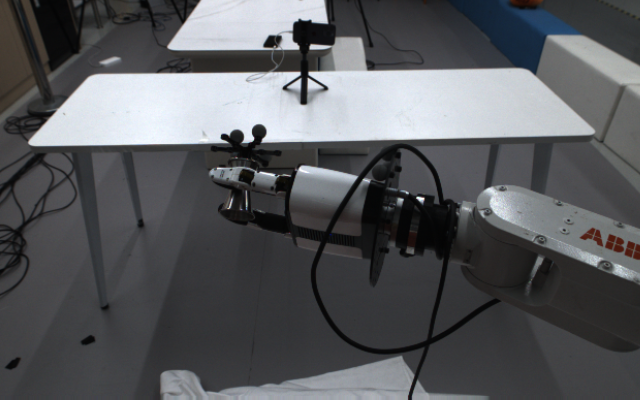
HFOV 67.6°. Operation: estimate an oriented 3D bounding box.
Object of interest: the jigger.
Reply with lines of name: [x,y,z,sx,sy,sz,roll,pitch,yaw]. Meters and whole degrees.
jigger: [-0.098,-0.014,0.591,0.043,0.043,0.071,4,71,3]
